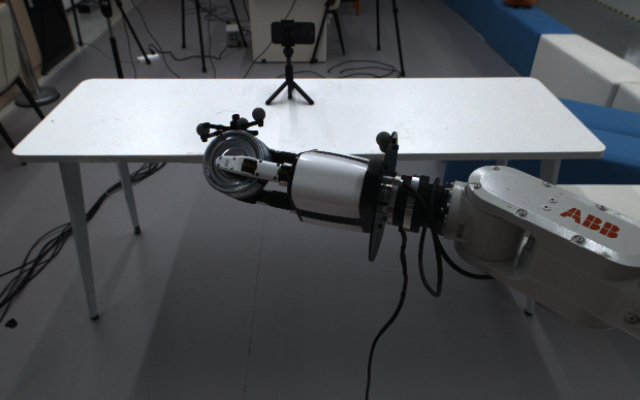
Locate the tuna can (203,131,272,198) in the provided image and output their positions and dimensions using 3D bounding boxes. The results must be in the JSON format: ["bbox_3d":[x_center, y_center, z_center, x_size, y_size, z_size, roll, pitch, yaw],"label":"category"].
[{"bbox_3d":[-0.103,-0.041,0.624,0.085,0.085,0.034,12,-5,14],"label":"tuna can"}]
